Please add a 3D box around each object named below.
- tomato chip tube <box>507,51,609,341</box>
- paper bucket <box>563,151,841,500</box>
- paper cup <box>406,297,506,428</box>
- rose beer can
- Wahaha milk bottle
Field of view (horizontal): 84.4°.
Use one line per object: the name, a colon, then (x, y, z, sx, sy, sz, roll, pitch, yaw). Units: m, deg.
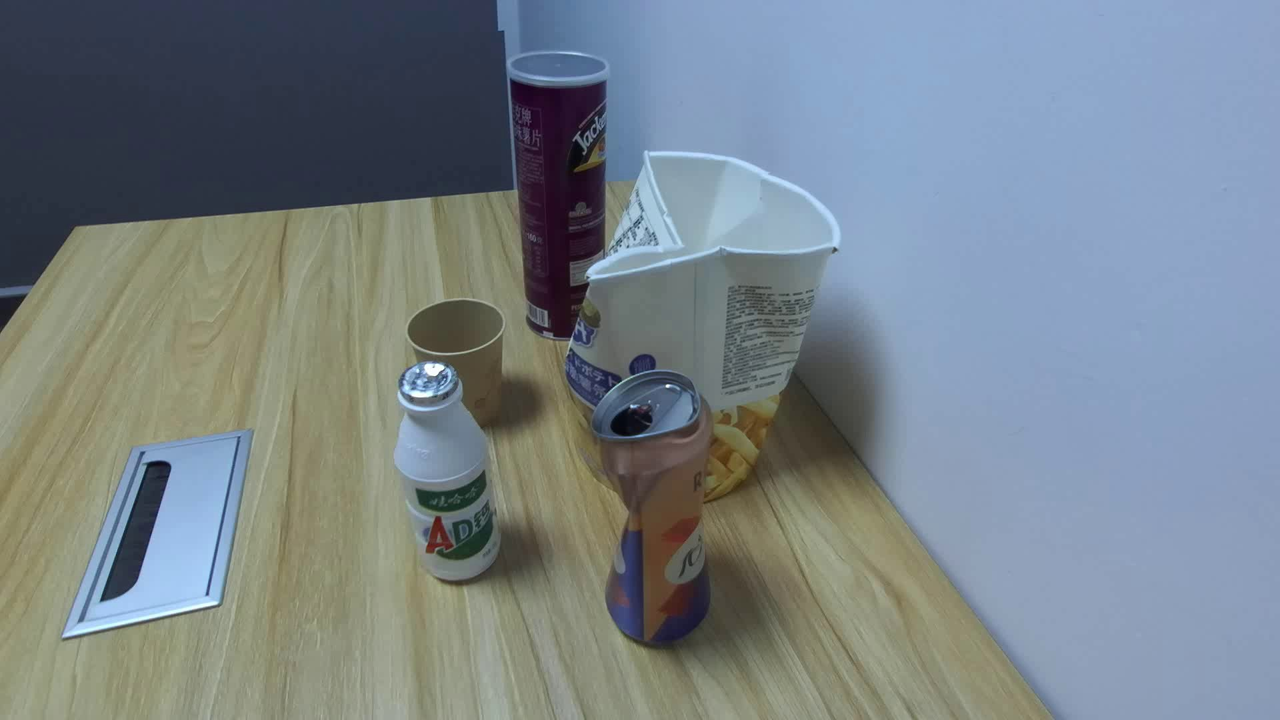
tomato chip tube: (-0.066, -0.129, 0.610, 0.078, 0.234, 0.078, 1, 31, 0)
paper bucket: (0.024, -0.024, 0.504, 0.169, 0.202, 0.162, -7, 37, -17)
paper cup: (-0.138, 0.007, 0.549, 0.075, 0.082, 0.075, 2, 36, -1)
rose beer can: (0.010, 0.086, 0.391, 0.070, 0.168, 0.069, -25, 42, -26)
Wahaha milk bottle: (-0.114, 0.068, 0.421, 0.053, 0.147, 0.053, 2, 36, -1)
